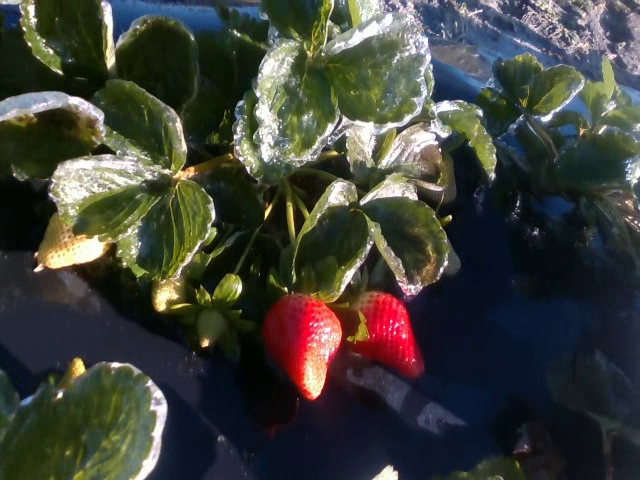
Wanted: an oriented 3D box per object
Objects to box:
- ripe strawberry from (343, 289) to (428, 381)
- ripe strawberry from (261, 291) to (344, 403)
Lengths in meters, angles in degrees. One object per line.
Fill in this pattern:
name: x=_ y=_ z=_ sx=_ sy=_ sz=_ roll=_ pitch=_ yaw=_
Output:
ripe strawberry: x=0.045 y=0.056 z=0.362 sx=0.043 sy=0.059 sz=0.040 roll=-37 pitch=1 yaw=-36
ripe strawberry: x=-0.003 y=0.063 z=0.340 sx=0.052 sy=0.070 sz=0.040 roll=21 pitch=-34 yaw=-34
